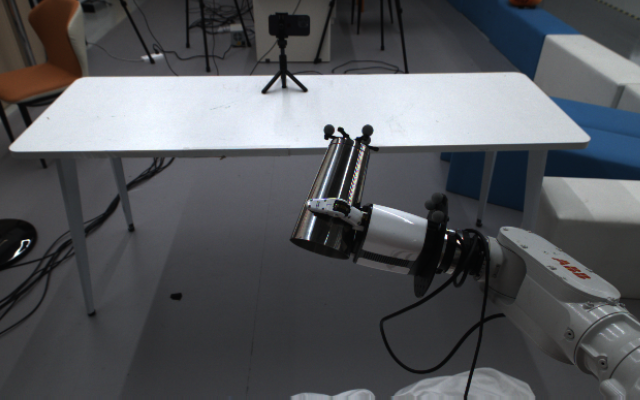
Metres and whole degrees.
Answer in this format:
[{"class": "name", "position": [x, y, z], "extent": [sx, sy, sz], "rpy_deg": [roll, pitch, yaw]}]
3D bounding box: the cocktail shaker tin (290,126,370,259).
[{"class": "cocktail shaker tin", "position": [0.022, -0.006, 0.736], "extent": [0.093, 0.093, 0.170], "rpy_deg": [13, 73, 15]}]
